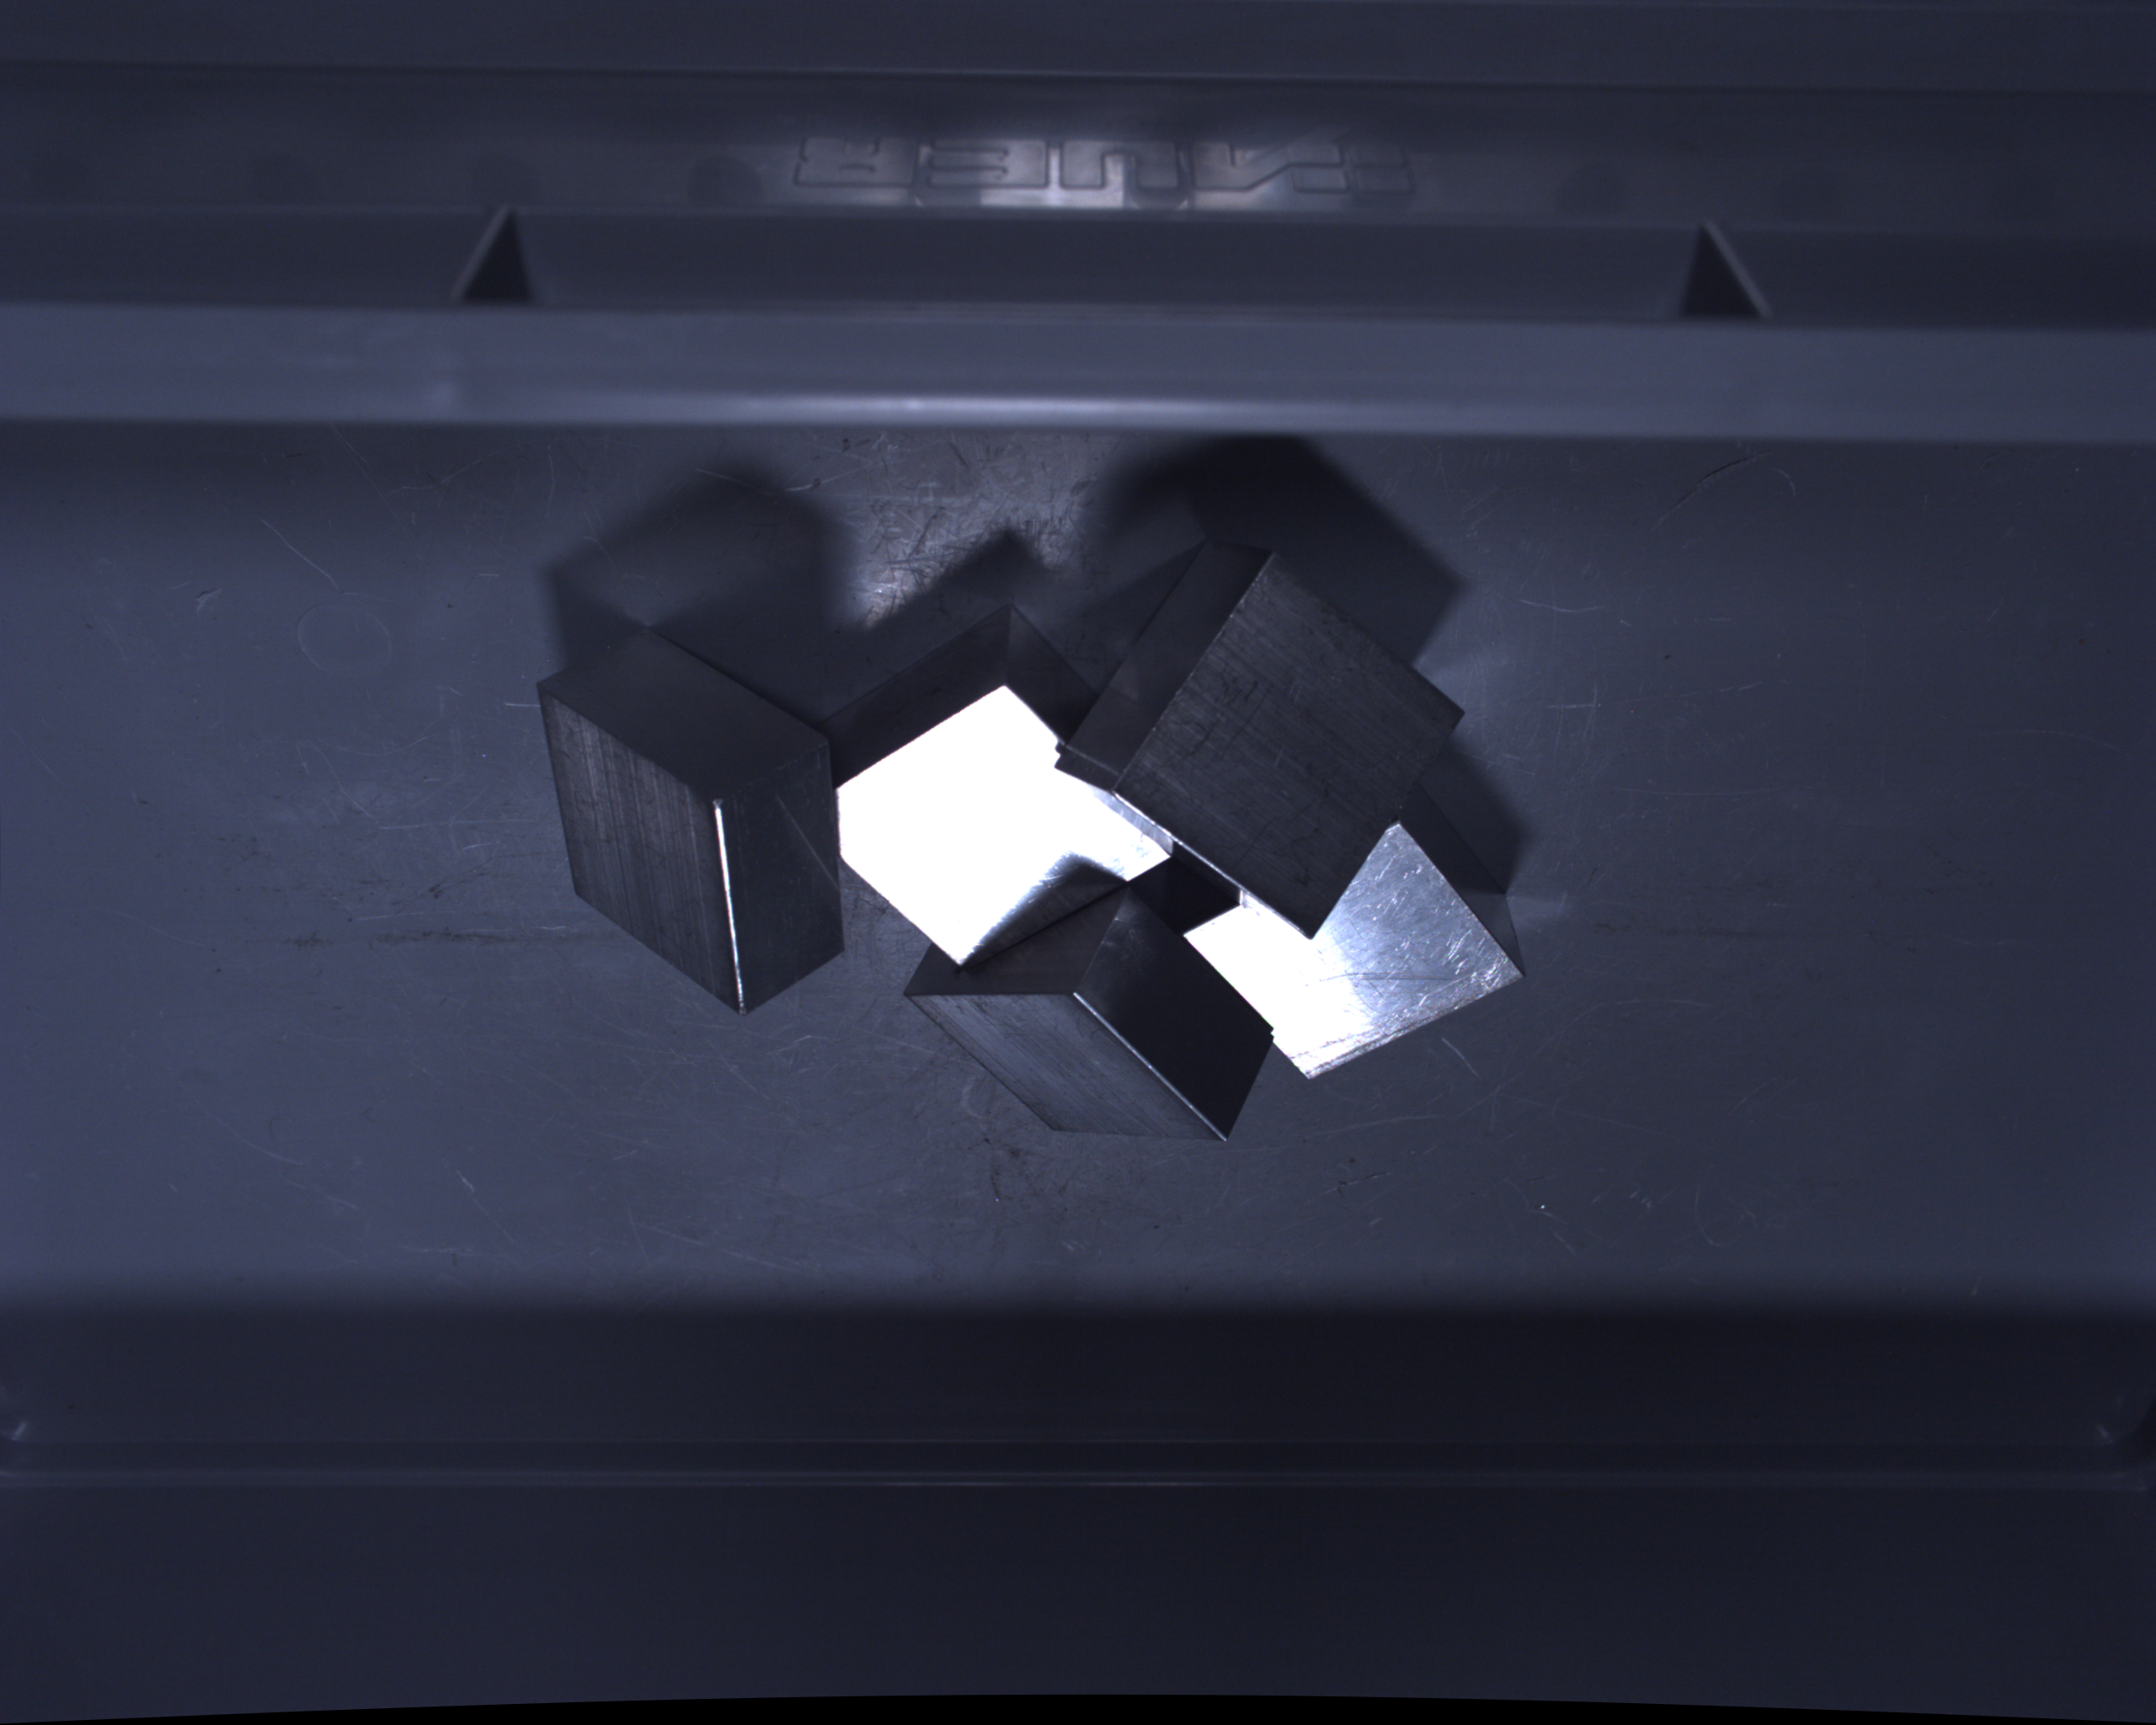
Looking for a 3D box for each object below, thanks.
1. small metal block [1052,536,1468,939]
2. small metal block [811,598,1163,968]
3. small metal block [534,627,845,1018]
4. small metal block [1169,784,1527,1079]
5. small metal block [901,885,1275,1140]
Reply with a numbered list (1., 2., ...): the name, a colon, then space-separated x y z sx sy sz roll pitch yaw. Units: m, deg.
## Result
1. small metal block: 0.033 -0.023 0.373 0.050 0.025 0.050 36 86 -27
2. small metal block: -0.017 -0.014 0.395 0.050 0.025 0.050 -30 124 23
3. small metal block: -0.070 -0.008 0.381 0.050 0.025 0.050 31 138 31
4. small metal block: 0.053 0.010 0.416 0.050 0.025 0.050 -29 125 22
5. small metal block: 0.002 0.031 0.418 0.050 0.025 0.050 -4 139 46
